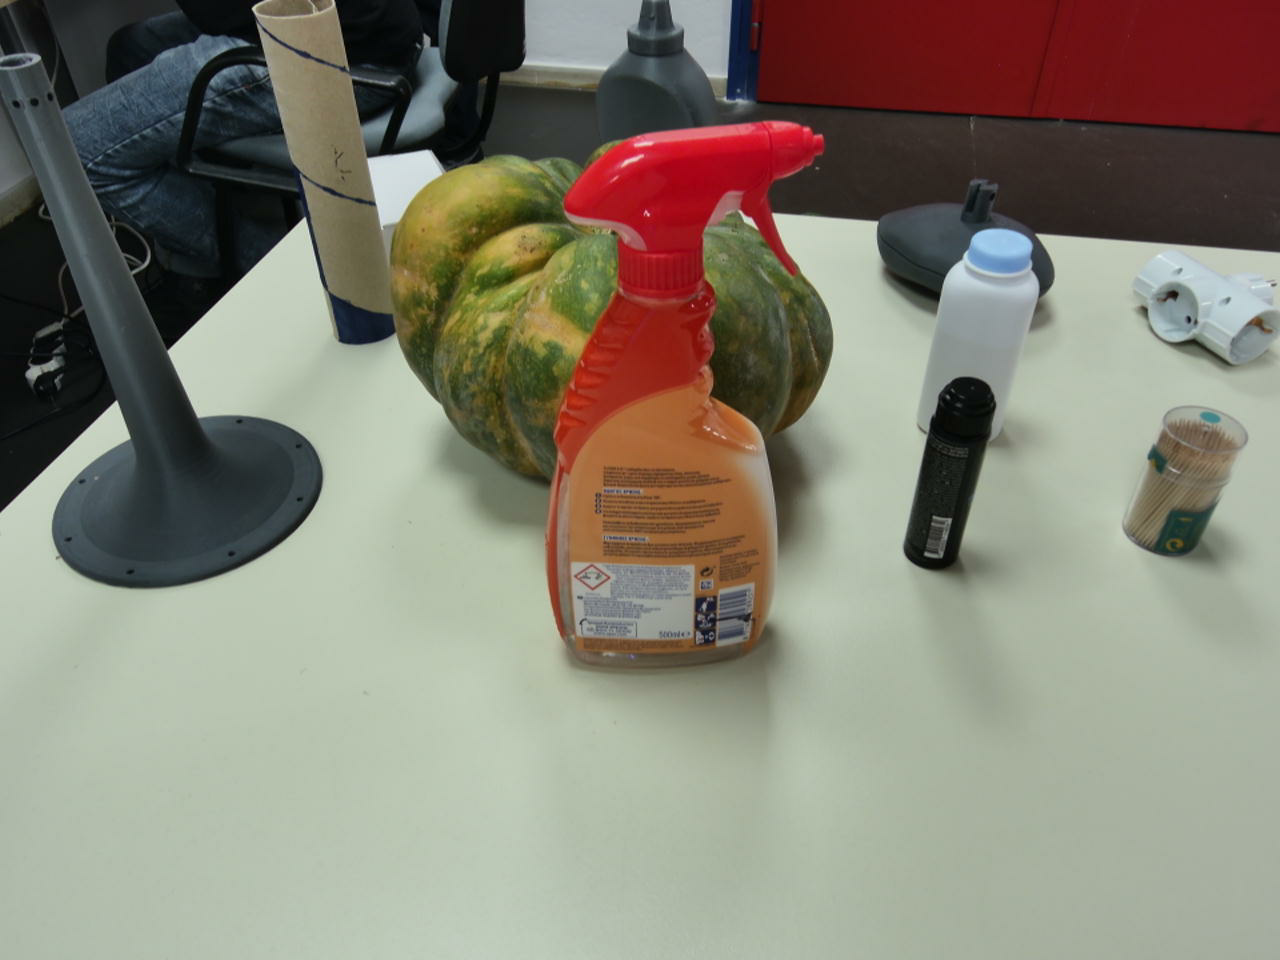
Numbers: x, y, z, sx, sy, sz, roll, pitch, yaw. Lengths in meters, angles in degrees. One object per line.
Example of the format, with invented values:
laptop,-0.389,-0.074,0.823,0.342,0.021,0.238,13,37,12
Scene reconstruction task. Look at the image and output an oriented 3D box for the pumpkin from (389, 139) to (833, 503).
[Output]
pumpkin,-0.016,-0.101,0.593,0.237,0.173,0.270,-28,47,-30
